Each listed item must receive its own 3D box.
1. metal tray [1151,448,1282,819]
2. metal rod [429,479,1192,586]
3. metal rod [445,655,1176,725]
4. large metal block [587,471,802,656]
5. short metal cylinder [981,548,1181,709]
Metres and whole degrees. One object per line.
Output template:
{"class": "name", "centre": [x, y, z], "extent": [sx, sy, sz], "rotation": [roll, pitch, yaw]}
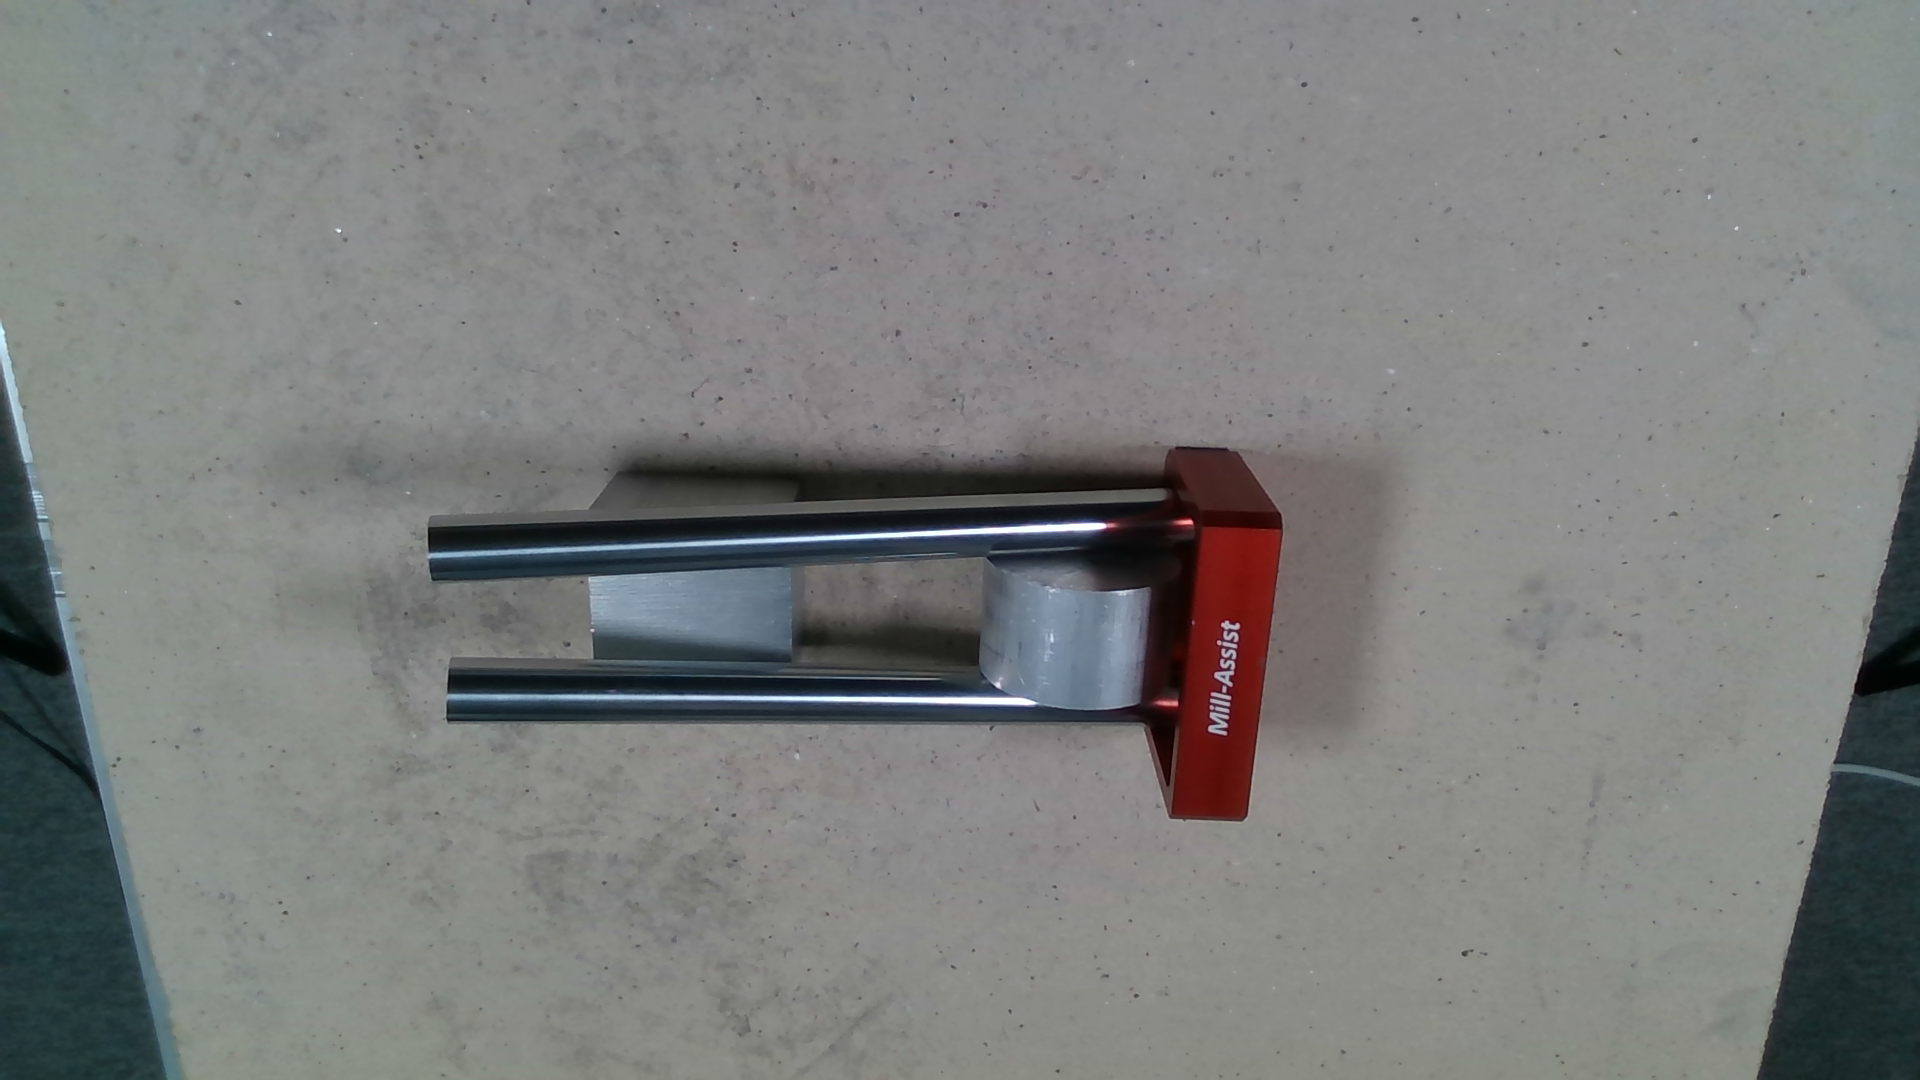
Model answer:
{"class": "metal tray", "centre": [0.100, 0.036, 0.563], "extent": [0.030, 0.090, 0.130], "rotation": [2, 110, -1]}
{"class": "metal rod", "centre": [-0.045, -0.005, 0.534], "extent": [0.300, 0.025, 0.025], "rotation": [-4, 111, -15]}
{"class": "metal rod", "centre": [-0.048, 0.062, 0.558], "extent": [0.300, 0.025, 0.025], "rotation": [3, 111, -17]}
{"class": "large metal block", "centre": [-0.109, 0.018, 0.576], "extent": [0.080, 0.050, 0.080], "rotation": [2, 110, -1]}
{"class": "short metal cylinder", "centre": [0.048, 0.029, 0.567], "extent": [0.080, 0.080, 0.050], "rotation": [2, 111, -1]}
